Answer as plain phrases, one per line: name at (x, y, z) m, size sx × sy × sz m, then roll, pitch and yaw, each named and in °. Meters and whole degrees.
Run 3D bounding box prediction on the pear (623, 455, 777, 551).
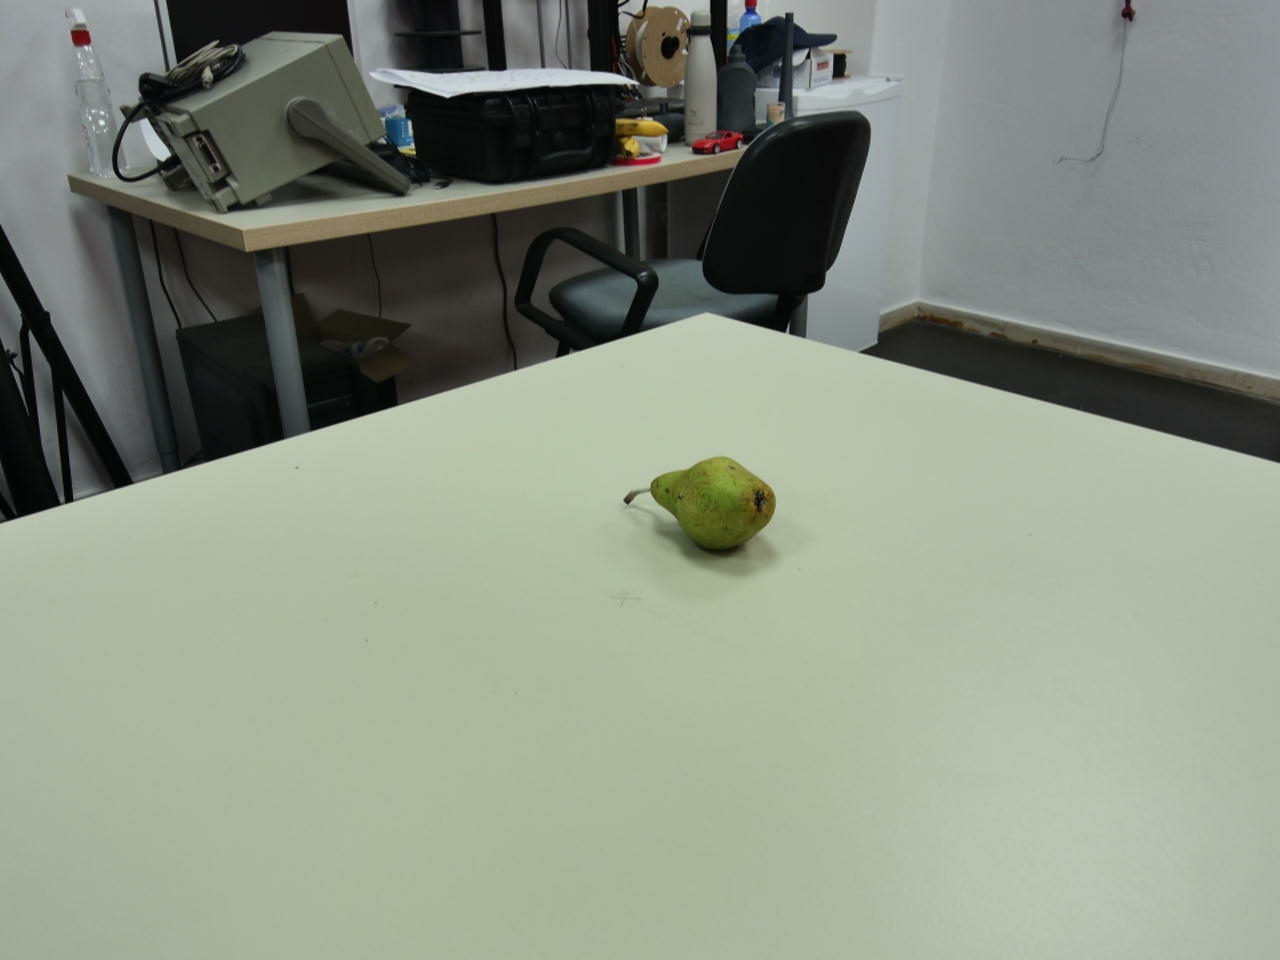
pear at (0.041, 0.008, 0.629) m, size 0.056 × 0.056 × 0.111 m, roll -11°, pitch 27°, yaw -24°
